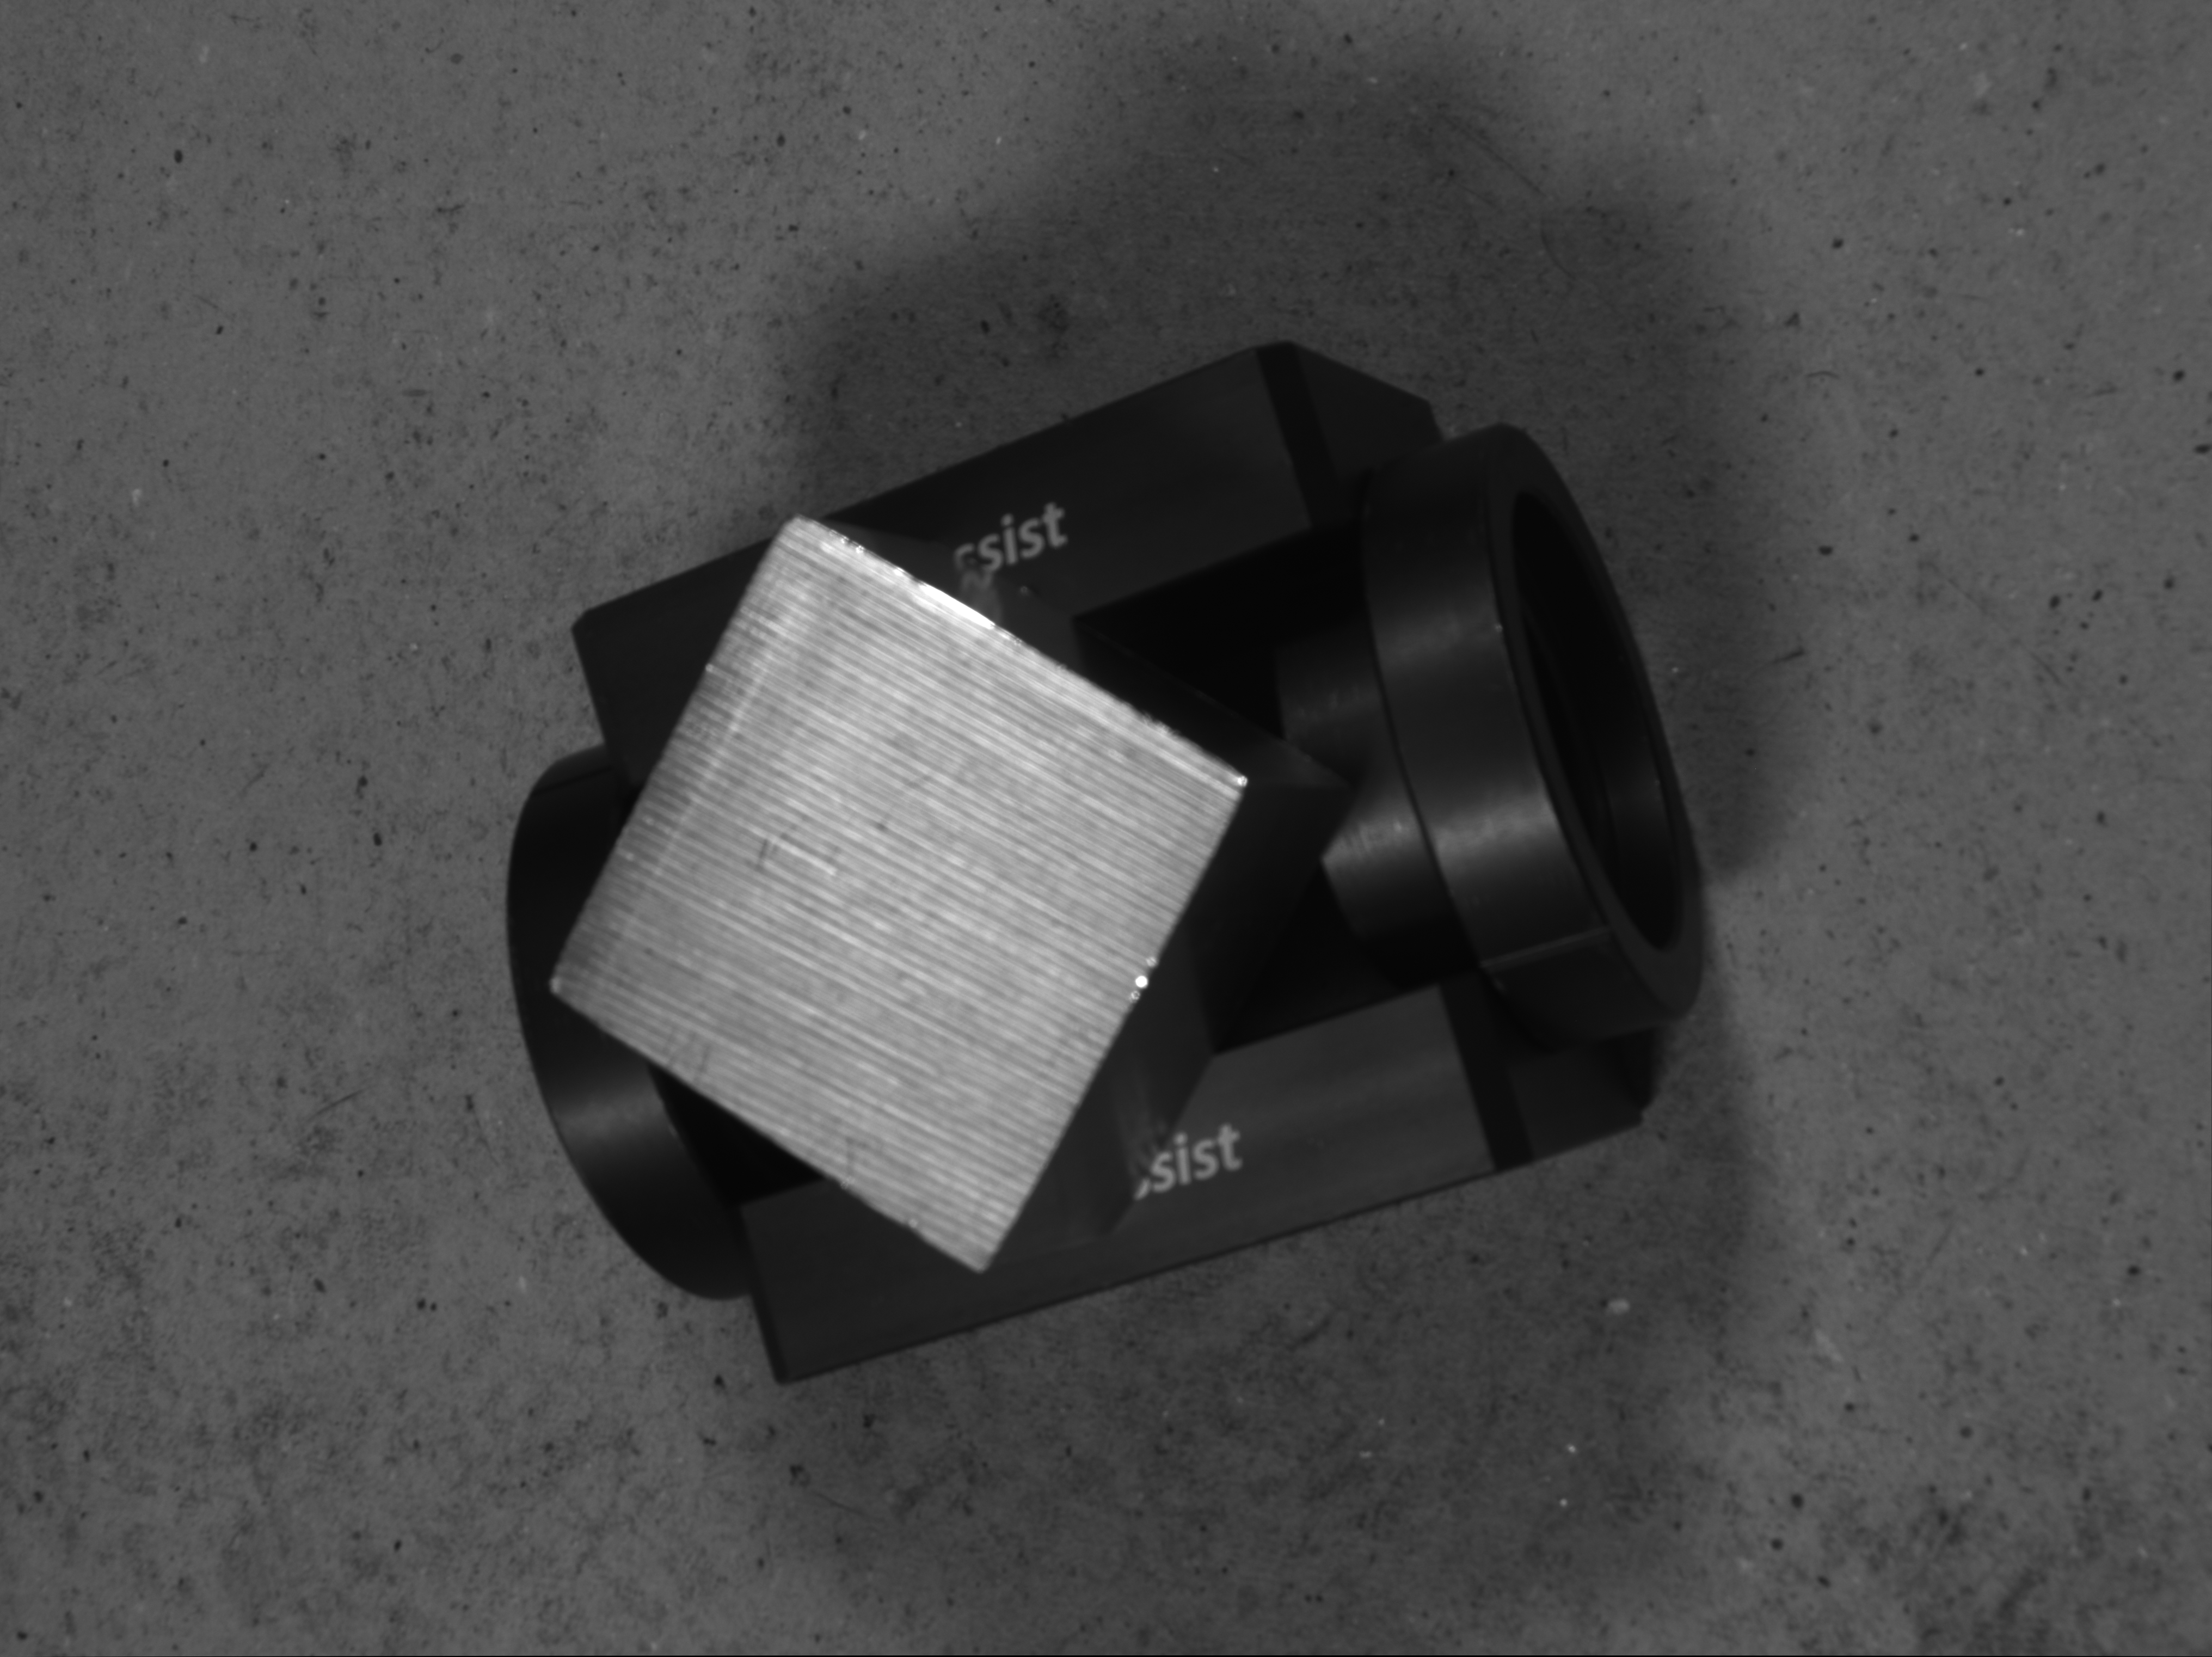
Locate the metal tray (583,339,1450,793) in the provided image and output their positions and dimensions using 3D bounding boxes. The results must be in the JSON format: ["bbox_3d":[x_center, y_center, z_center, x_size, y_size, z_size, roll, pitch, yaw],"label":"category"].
[{"bbox_3d":[-0.010,-0.040,0.614,0.130,0.090,0.030,-19,83,19],"label":"metal tray"}]

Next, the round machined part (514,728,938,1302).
[{"bbox_3d":[-0.057,0.028,0.626,0.042,0.098,0.098,-16,84,19],"label":"round machined part"}]

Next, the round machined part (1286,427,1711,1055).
[{"bbox_3d":[0.061,-0.011,0.584,0.042,0.098,0.098,-16,84,19],"label":"round machined part"}]

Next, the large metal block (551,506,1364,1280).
[{"bbox_3d":[-0.021,0.009,0.541,0.080,0.050,0.080,31,100,17],"label":"large metal block"}]

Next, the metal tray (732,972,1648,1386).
[{"bbox_3d":[0.016,0.055,0.603,0.130,0.090,0.030,-19,84,19],"label":"metal tray"}]
